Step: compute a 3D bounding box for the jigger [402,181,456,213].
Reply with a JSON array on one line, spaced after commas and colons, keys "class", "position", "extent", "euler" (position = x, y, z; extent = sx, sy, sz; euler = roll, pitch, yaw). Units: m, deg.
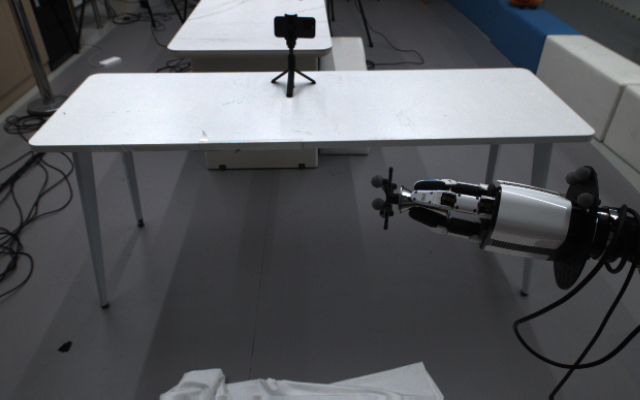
[{"class": "jigger", "position": [0.153, -0.003, 0.671], "extent": [0.071, 0.043, 0.043], "euler": [4, 34, 18]}]
